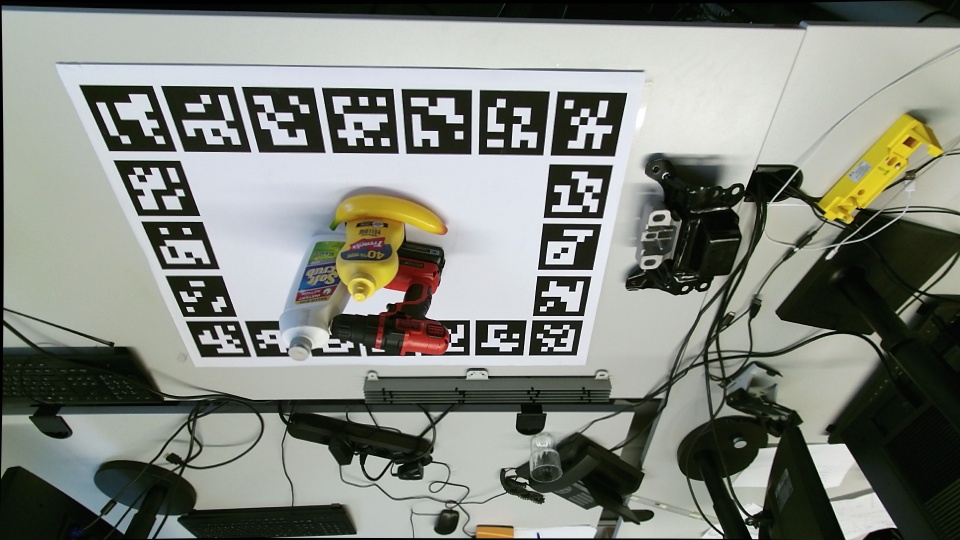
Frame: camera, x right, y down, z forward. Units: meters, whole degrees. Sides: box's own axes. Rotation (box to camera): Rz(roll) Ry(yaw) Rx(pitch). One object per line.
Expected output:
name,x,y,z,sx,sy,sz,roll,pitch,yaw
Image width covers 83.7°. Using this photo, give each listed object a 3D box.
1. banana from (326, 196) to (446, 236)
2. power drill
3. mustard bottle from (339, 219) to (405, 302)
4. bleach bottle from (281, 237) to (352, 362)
banana,-0.154,-0.086,0.888,0.198,0.038,0.074,3,124,-7
power drill,-0.134,0.057,0.861,0.185,0.186,0.057,11,125,-8
mustard bottle,-0.173,-0.013,0.835,0.096,0.190,0.058,1,125,-2
bleach bottle,-0.245,0.047,0.846,0.103,0.249,0.068,2,131,-4
